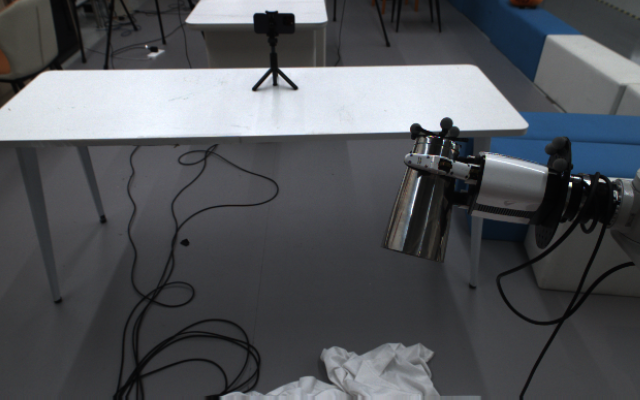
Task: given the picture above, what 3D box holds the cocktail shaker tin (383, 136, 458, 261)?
[{"bbox_3d":[0.155,-0.005,0.709,0.093,0.170,0.093,15,-5,1],"label":"cocktail shaker tin"}]
